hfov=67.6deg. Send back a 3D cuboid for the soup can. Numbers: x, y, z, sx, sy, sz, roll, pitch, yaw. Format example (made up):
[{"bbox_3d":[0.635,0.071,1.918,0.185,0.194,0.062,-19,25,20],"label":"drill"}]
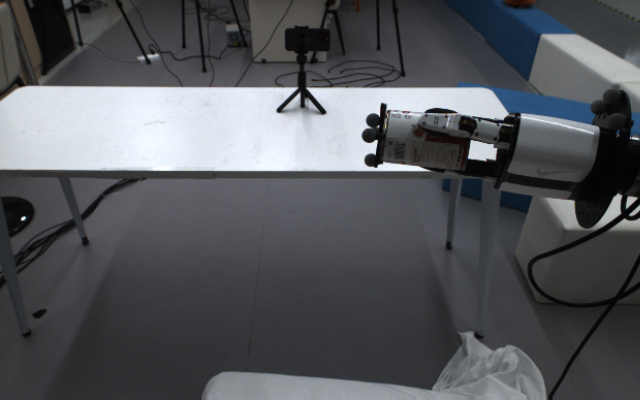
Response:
[{"bbox_3d":[0.133,-0.076,0.601,0.101,0.067,0.067,7,35,10],"label":"soup can"}]
